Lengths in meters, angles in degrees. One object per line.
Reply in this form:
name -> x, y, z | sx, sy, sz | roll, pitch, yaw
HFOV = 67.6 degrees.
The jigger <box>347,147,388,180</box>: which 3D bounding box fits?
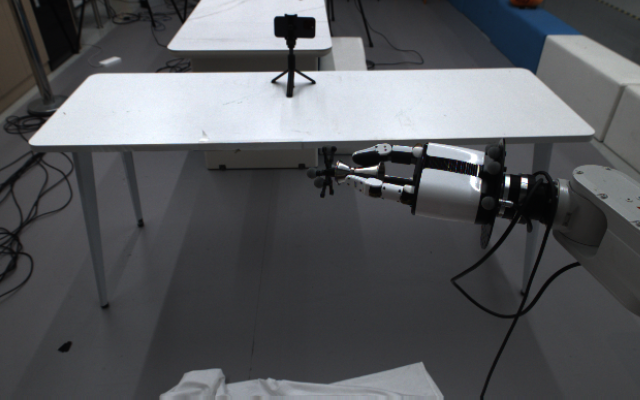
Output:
jigger -> 0.068, -0.047, 0.738 | 0.071, 0.043, 0.043 | 4, 33, 21
